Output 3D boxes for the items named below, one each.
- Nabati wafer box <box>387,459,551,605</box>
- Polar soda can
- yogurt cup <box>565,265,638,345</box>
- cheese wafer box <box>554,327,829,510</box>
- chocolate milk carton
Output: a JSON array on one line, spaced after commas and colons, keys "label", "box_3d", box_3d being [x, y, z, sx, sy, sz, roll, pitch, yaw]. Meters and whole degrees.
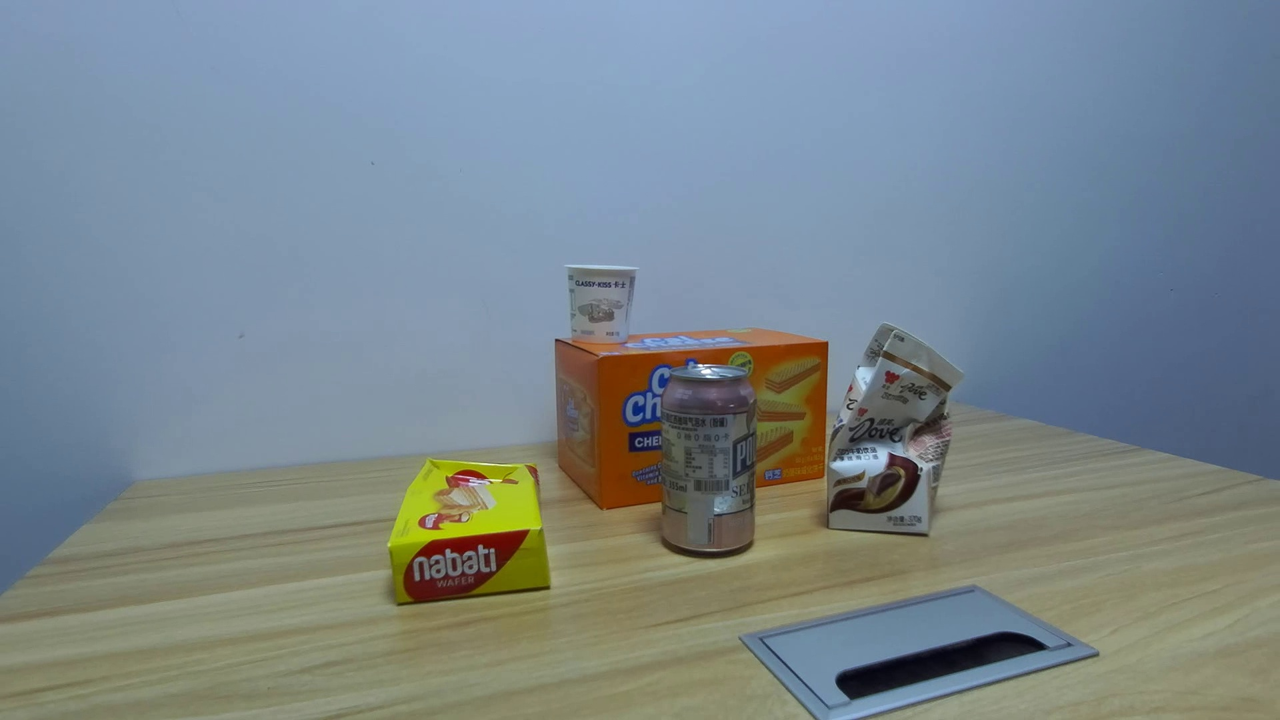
[{"label": "Nabati wafer box", "box_3d": [-0.120, 0.110, 0.517, 0.096, 0.042, 0.203, -4, 8, -9]}, {"label": "Polar soda can", "box_3d": [0.047, 0.069, 0.496, 0.067, 0.125, 0.067, 0, 7, 0]}, {"label": "yogurt cup", "box_3d": [-0.036, -0.052, 0.655, 0.072, 0.068, 0.072, 2, 8, 0]}, {"label": "cheese wafer box", "box_3d": [0.045, 0.044, 0.667, 0.223, 0.129, 0.147, -3, 9, -21]}, {"label": "chocolate milk carton", "box_3d": [0.189, 0.053, 0.530, 0.089, 0.155, 0.077, 15, 16, 8]}]
